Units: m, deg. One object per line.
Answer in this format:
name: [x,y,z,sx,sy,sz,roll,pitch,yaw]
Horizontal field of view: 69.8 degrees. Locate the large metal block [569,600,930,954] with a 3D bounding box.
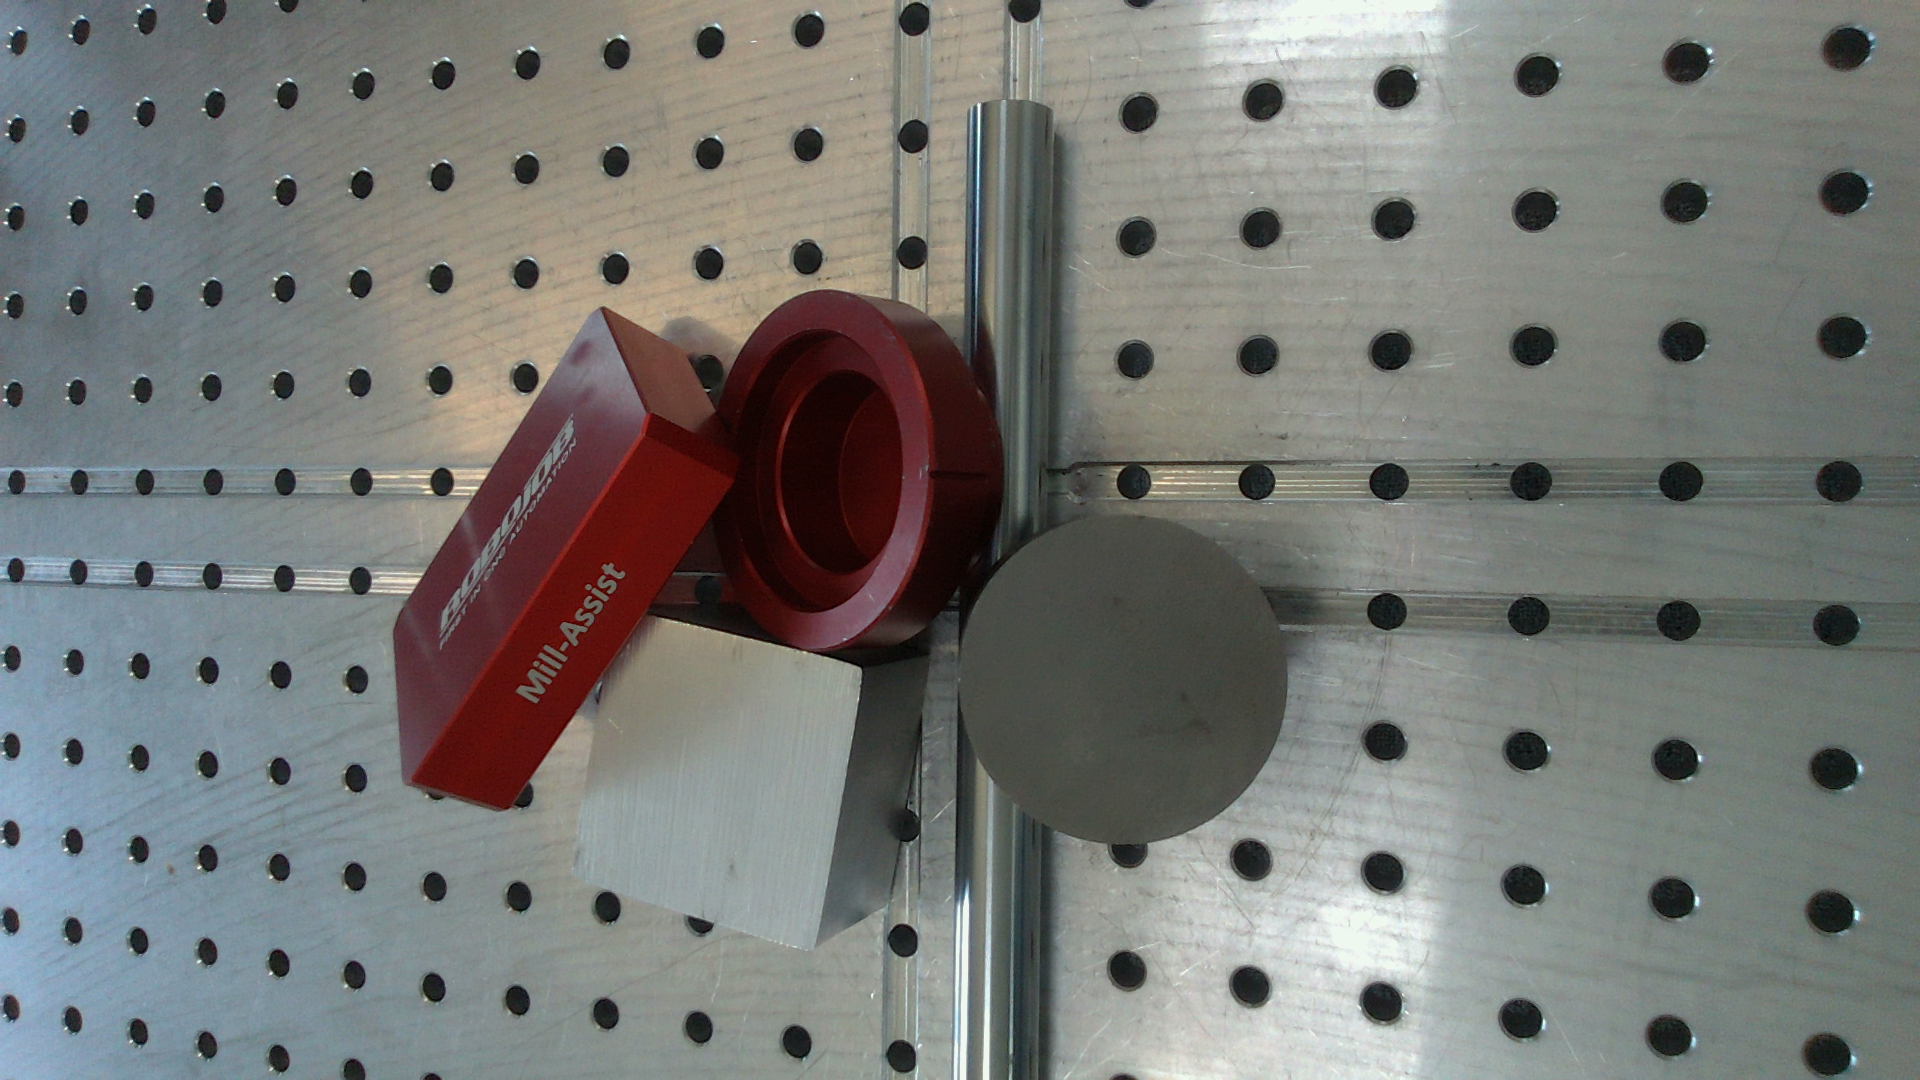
large metal block: [-0.061,0.066,0.407,0.080,0.050,0.080,11,94,20]

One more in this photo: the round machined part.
round machined part: [-0.026,-0.019,0.385,0.098,0.042,0.098,-1,88,46]

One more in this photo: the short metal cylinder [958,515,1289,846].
short metal cylinder: [0.040,0.034,0.357,0.080,0.050,0.080,0,90,0]

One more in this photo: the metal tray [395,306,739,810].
metal tray: [-0.123,0.004,0.414,0.130,0.030,0.090,-54,35,12]

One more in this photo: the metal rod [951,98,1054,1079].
metal rod: [0.012,0.028,0.395,0.025,0.025,0.300,1,90,20]
